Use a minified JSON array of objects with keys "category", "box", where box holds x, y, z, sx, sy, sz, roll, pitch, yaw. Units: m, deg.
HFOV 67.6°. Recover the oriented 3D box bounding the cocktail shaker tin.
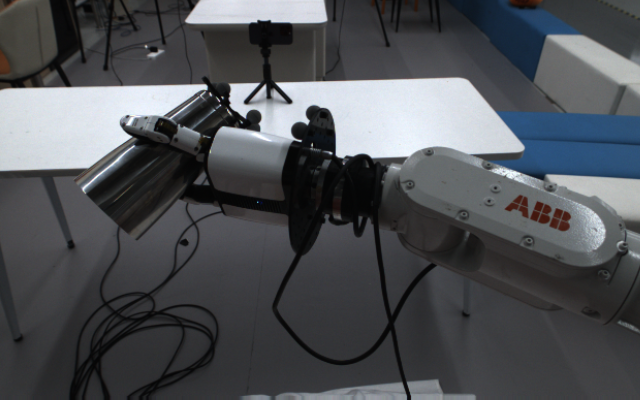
[{"category":"cocktail shaker tin","box":[-0.176,-0.046,0.548,0.170,0.093,0.093,-44,50,-14]}]
